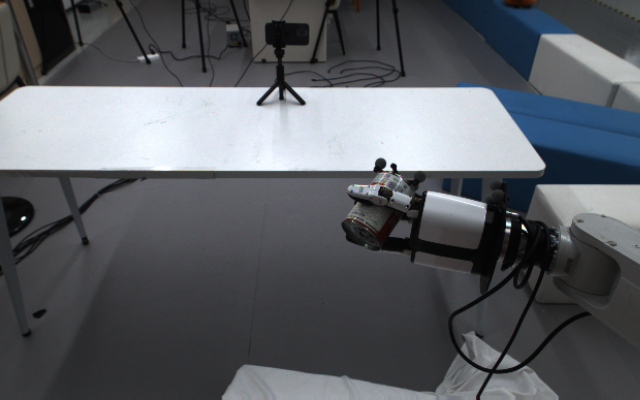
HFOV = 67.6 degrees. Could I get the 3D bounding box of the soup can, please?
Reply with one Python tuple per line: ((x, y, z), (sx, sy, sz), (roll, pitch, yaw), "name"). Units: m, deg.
((0.087, 0.014, 0.714), (0.067, 0.067, 0.101), (25, 66, 30), "soup can")
